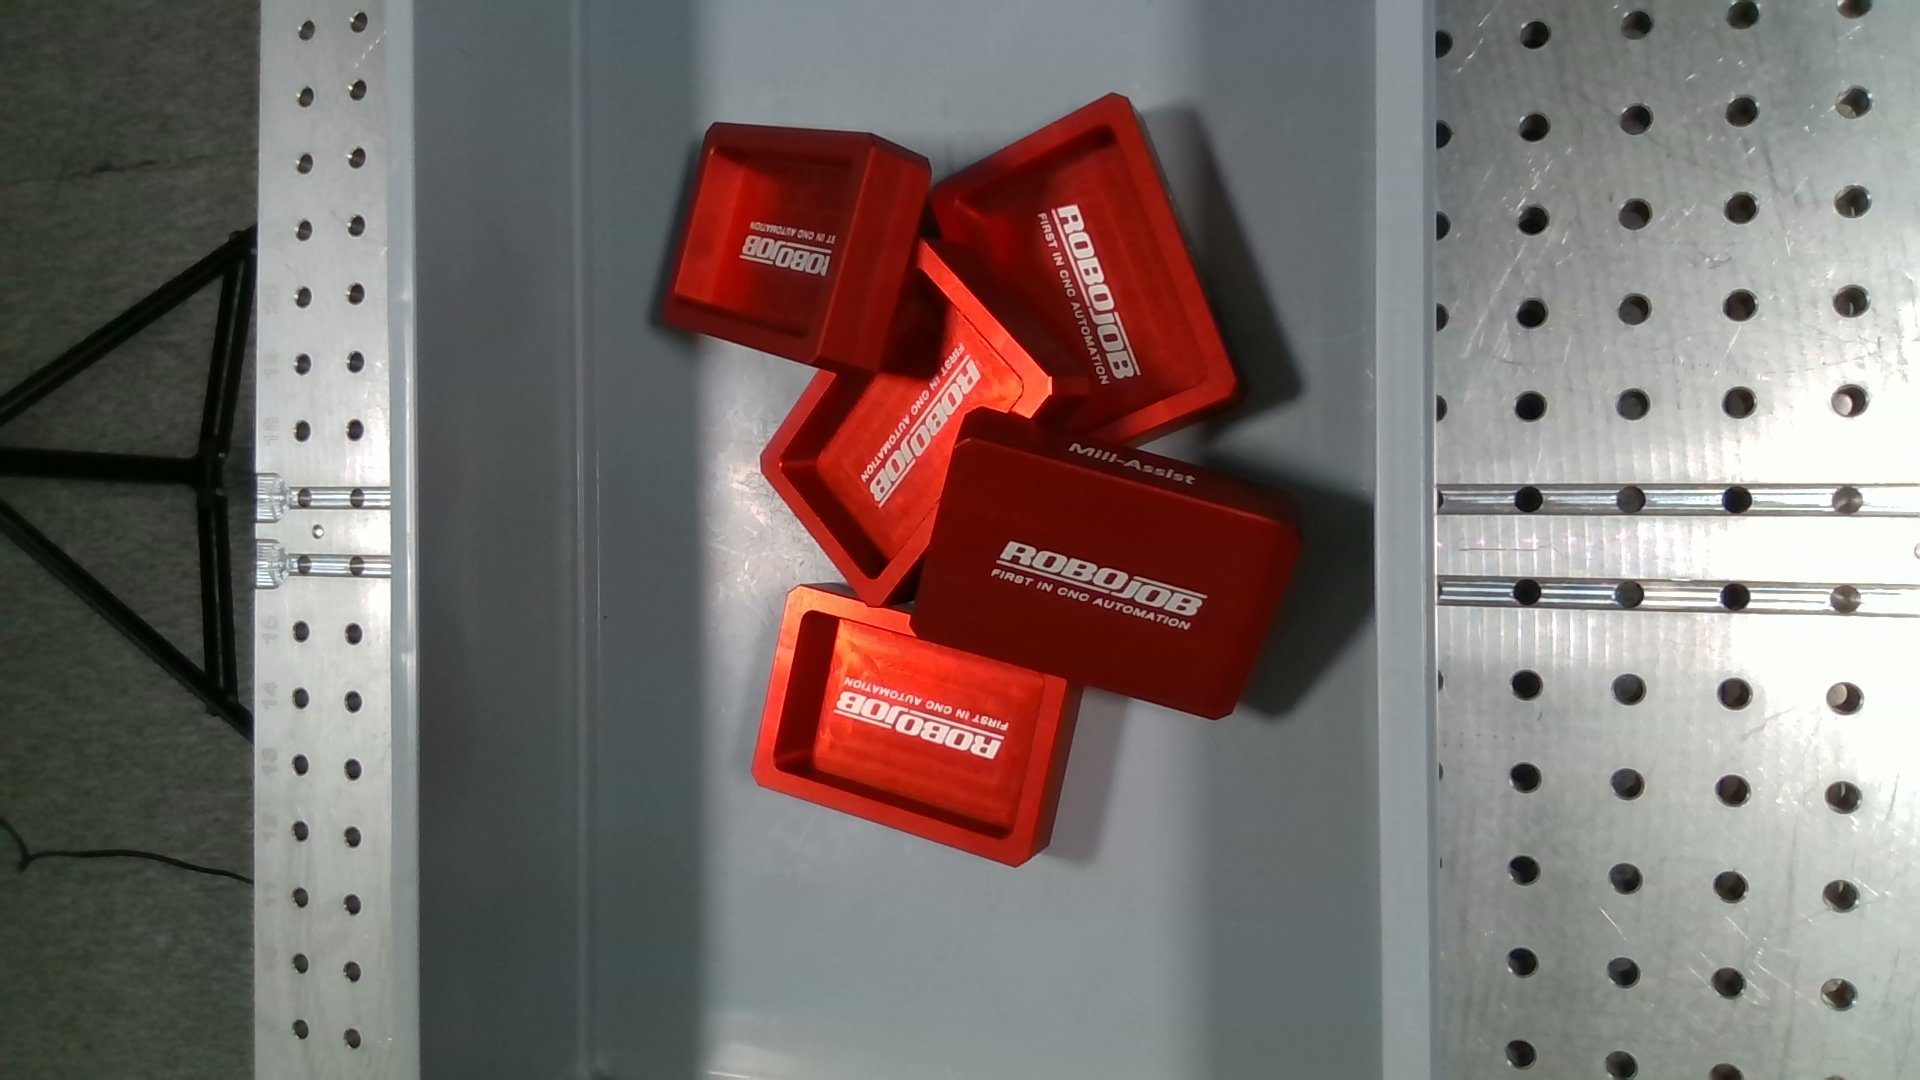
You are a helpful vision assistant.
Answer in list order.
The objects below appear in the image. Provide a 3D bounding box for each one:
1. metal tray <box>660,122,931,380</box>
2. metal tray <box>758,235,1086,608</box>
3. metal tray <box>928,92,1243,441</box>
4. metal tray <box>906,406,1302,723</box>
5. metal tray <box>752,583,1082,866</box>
[{"bbox_3d":[-0.073,-0.124,0.576,0.130,0.030,0.090,23,99,47],"label":"metal tray"},{"bbox_3d":[-0.020,-0.047,0.565,0.090,0.030,0.130,50,121,20],"label":"metal tray"},{"bbox_3d":[0.051,-0.102,0.562,0.090,0.030,0.130,-22,83,19],"label":"metal tray"},{"bbox_3d":[0.053,0.010,0.526,0.130,0.030,0.090,16,120,1],"label":"metal tray"},{"bbox_3d":[-0.018,0.076,0.589,0.130,0.030,0.090,13,95,20],"label":"metal tray"}]
